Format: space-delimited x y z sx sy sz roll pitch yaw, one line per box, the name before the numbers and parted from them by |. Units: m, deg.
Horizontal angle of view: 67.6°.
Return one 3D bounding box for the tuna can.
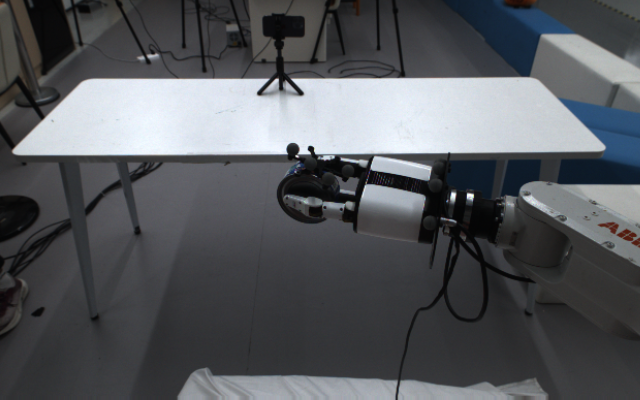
tuna can | -0.014 -0.010 0.688 0.085 0.085 0.034 9 35 10
